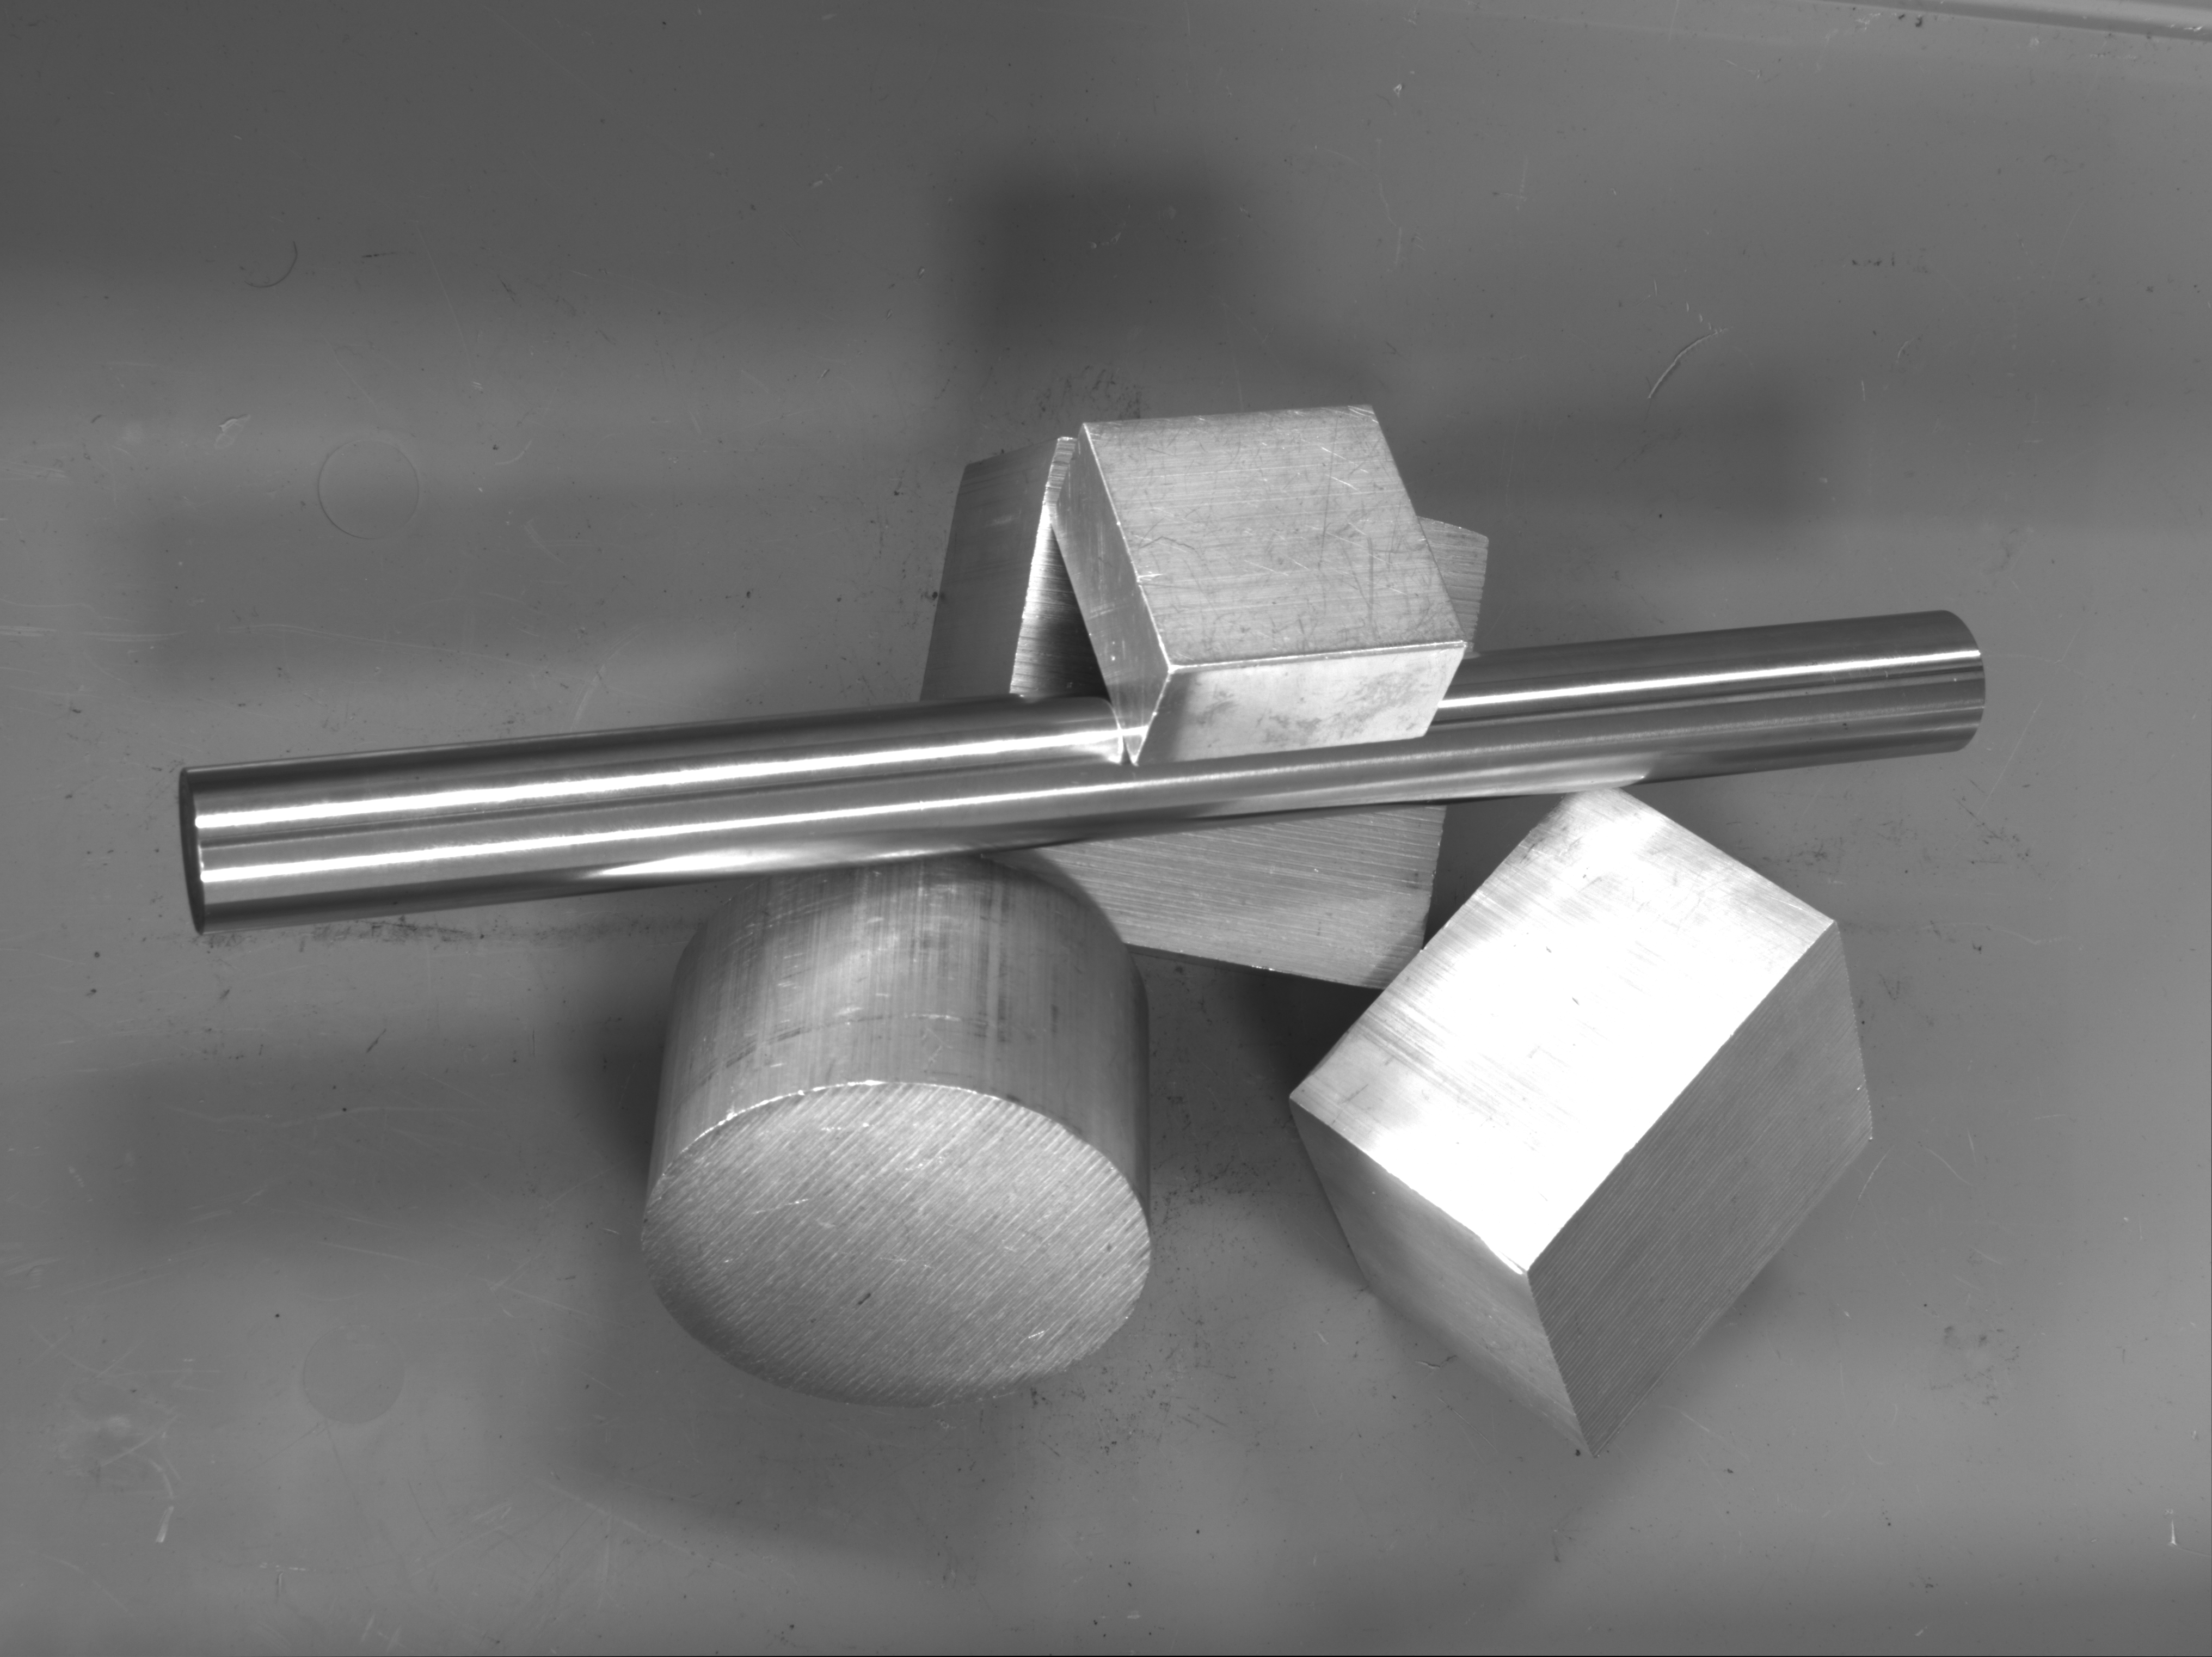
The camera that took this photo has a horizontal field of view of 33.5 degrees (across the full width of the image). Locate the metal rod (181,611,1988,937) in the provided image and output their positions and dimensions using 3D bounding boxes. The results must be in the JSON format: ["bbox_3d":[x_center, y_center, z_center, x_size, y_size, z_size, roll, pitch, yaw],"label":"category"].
[{"bbox_3d":[0.006,-0.011,0.591,0.301,0.025,0.025,-6,92,-19],"label":"metal rod"}]

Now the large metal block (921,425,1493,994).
[{"bbox_3d":[0.013,-0.019,0.634,0.080,0.050,0.080,12,86,-19],"label":"large metal block"}]

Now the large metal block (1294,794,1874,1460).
[{"bbox_3d":[0.085,0.050,0.637,0.080,0.050,0.080,-47,148,-14],"label":"large metal block"}]

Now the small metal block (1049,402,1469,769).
[{"bbox_3d":[0.024,-0.039,0.585,0.050,0.025,0.050,-6,57,-19],"label":"small metal block"}]

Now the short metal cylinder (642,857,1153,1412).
[{"bbox_3d":[-0.033,0.050,0.595,0.080,0.080,0.050,21,40,-19],"label":"short metal cylinder"}]
